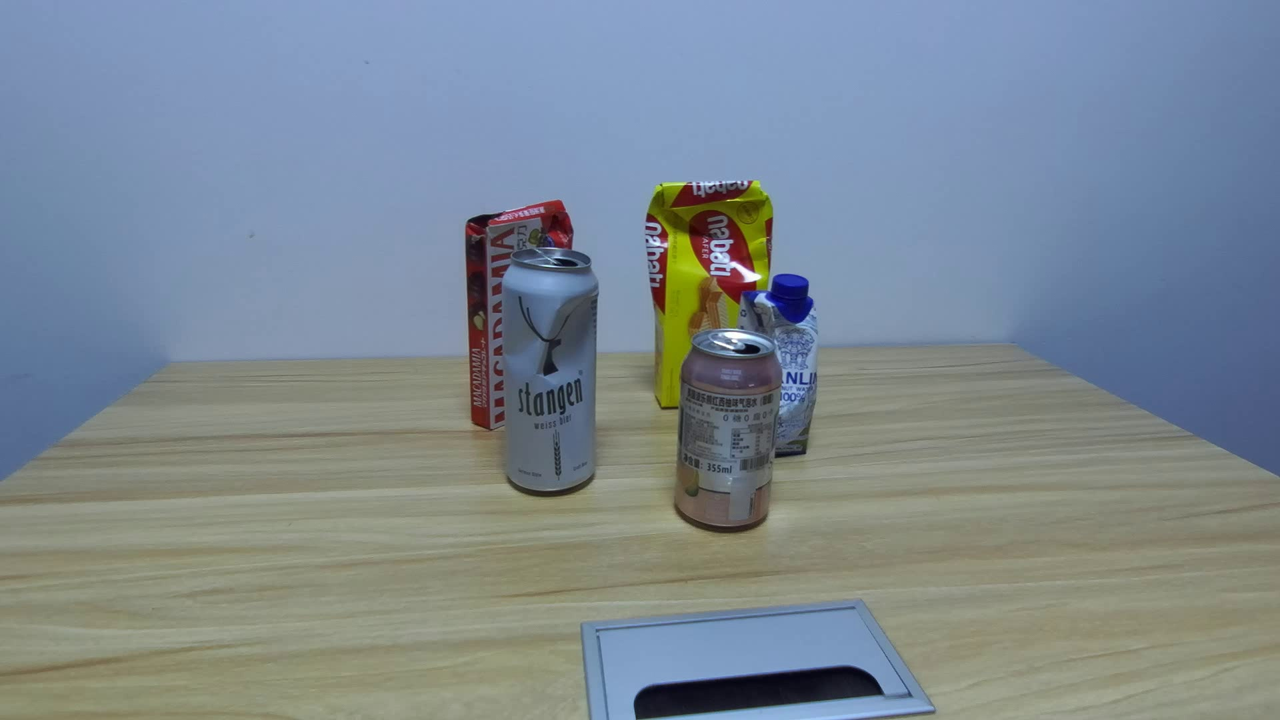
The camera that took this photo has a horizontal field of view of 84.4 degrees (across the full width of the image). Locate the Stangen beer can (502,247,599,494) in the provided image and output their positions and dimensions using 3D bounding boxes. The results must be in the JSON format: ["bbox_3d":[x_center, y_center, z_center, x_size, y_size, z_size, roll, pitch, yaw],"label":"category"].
[{"bbox_3d":[-0.062,0.008,0.502,0.070,0.173,0.069,-3,20,-12],"label":"Stangen beer can"}]

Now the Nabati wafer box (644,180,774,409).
[{"bbox_3d":[0.061,-0.056,0.644,0.113,0.205,0.042,-2,18,-8],"label":"Nabati wafer box"}]

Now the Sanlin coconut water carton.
[{"bbox_3d":[0.111,0.002,0.576,0.057,0.144,0.068,0,12,-22],"label":"Sanlin coconut water carton"}]

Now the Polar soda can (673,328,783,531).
[{"bbox_3d":[0.058,0.047,0.472,0.067,0.125,0.067,1,18,0],"label":"Polar soda can"}]

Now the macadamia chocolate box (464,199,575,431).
[{"bbox_3d":[-0.101,-0.040,0.613,0.027,0.187,0.103,22,29,36],"label":"macadamia chocolate box"}]
